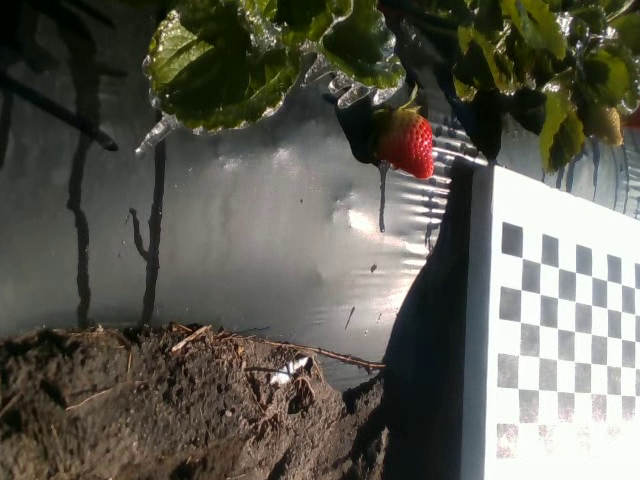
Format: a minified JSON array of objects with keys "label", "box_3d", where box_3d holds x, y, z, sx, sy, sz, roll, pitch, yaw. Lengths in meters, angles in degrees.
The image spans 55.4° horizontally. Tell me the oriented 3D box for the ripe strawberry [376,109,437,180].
[{"label":"ripe strawberry","box_3d":[0.058,-0.058,0.377,0.039,0.053,0.040,-14,-13,-36]}]
